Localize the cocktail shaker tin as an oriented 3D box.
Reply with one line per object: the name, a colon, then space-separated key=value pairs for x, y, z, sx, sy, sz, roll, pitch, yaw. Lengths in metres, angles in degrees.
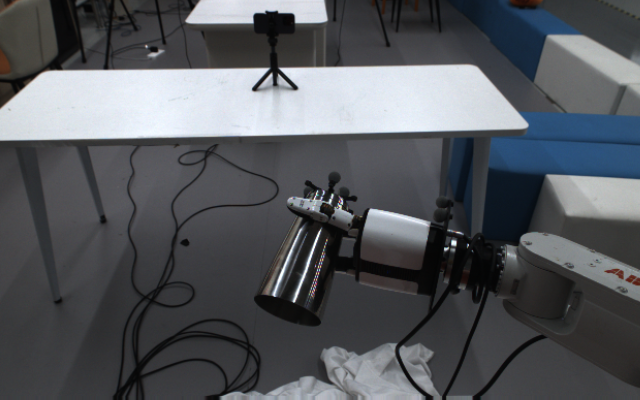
cocktail shaker tin: x=-0.016 y=0.070 z=0.658 sx=0.093 sy=0.093 sz=0.170 roll=13 pitch=59 yaw=16
